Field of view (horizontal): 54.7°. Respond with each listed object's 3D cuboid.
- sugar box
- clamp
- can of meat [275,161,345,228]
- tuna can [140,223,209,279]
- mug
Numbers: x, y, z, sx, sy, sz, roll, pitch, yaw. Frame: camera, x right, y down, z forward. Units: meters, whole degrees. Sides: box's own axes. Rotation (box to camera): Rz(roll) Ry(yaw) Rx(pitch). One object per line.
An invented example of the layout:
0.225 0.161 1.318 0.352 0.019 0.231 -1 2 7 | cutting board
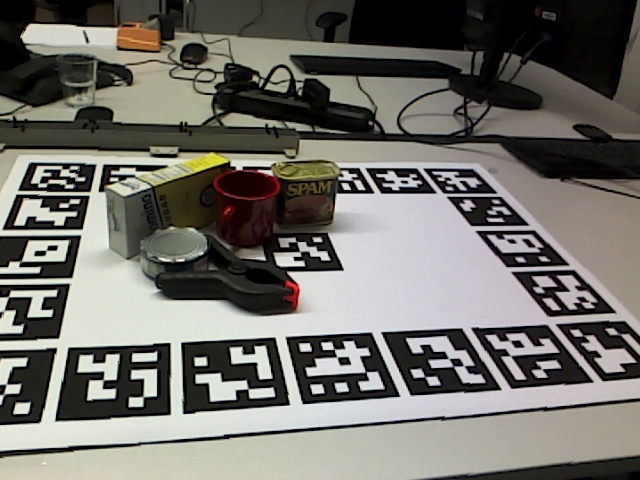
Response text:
-0.199 -0.051 0.855 0.045 0.093 0.175 27 35 31 | sugar box
-0.101 0.048 0.769 0.166 0.036 0.121 22 30 14 | clamp
-0.019 -0.068 0.930 0.101 0.083 0.058 -4 32 -21 | can of meat
-0.186 0.015 0.794 0.085 0.033 0.086 5 33 -4 | tuna can
-0.105 -0.047 0.862 0.093 0.081 0.117 13 34 8 | mug
